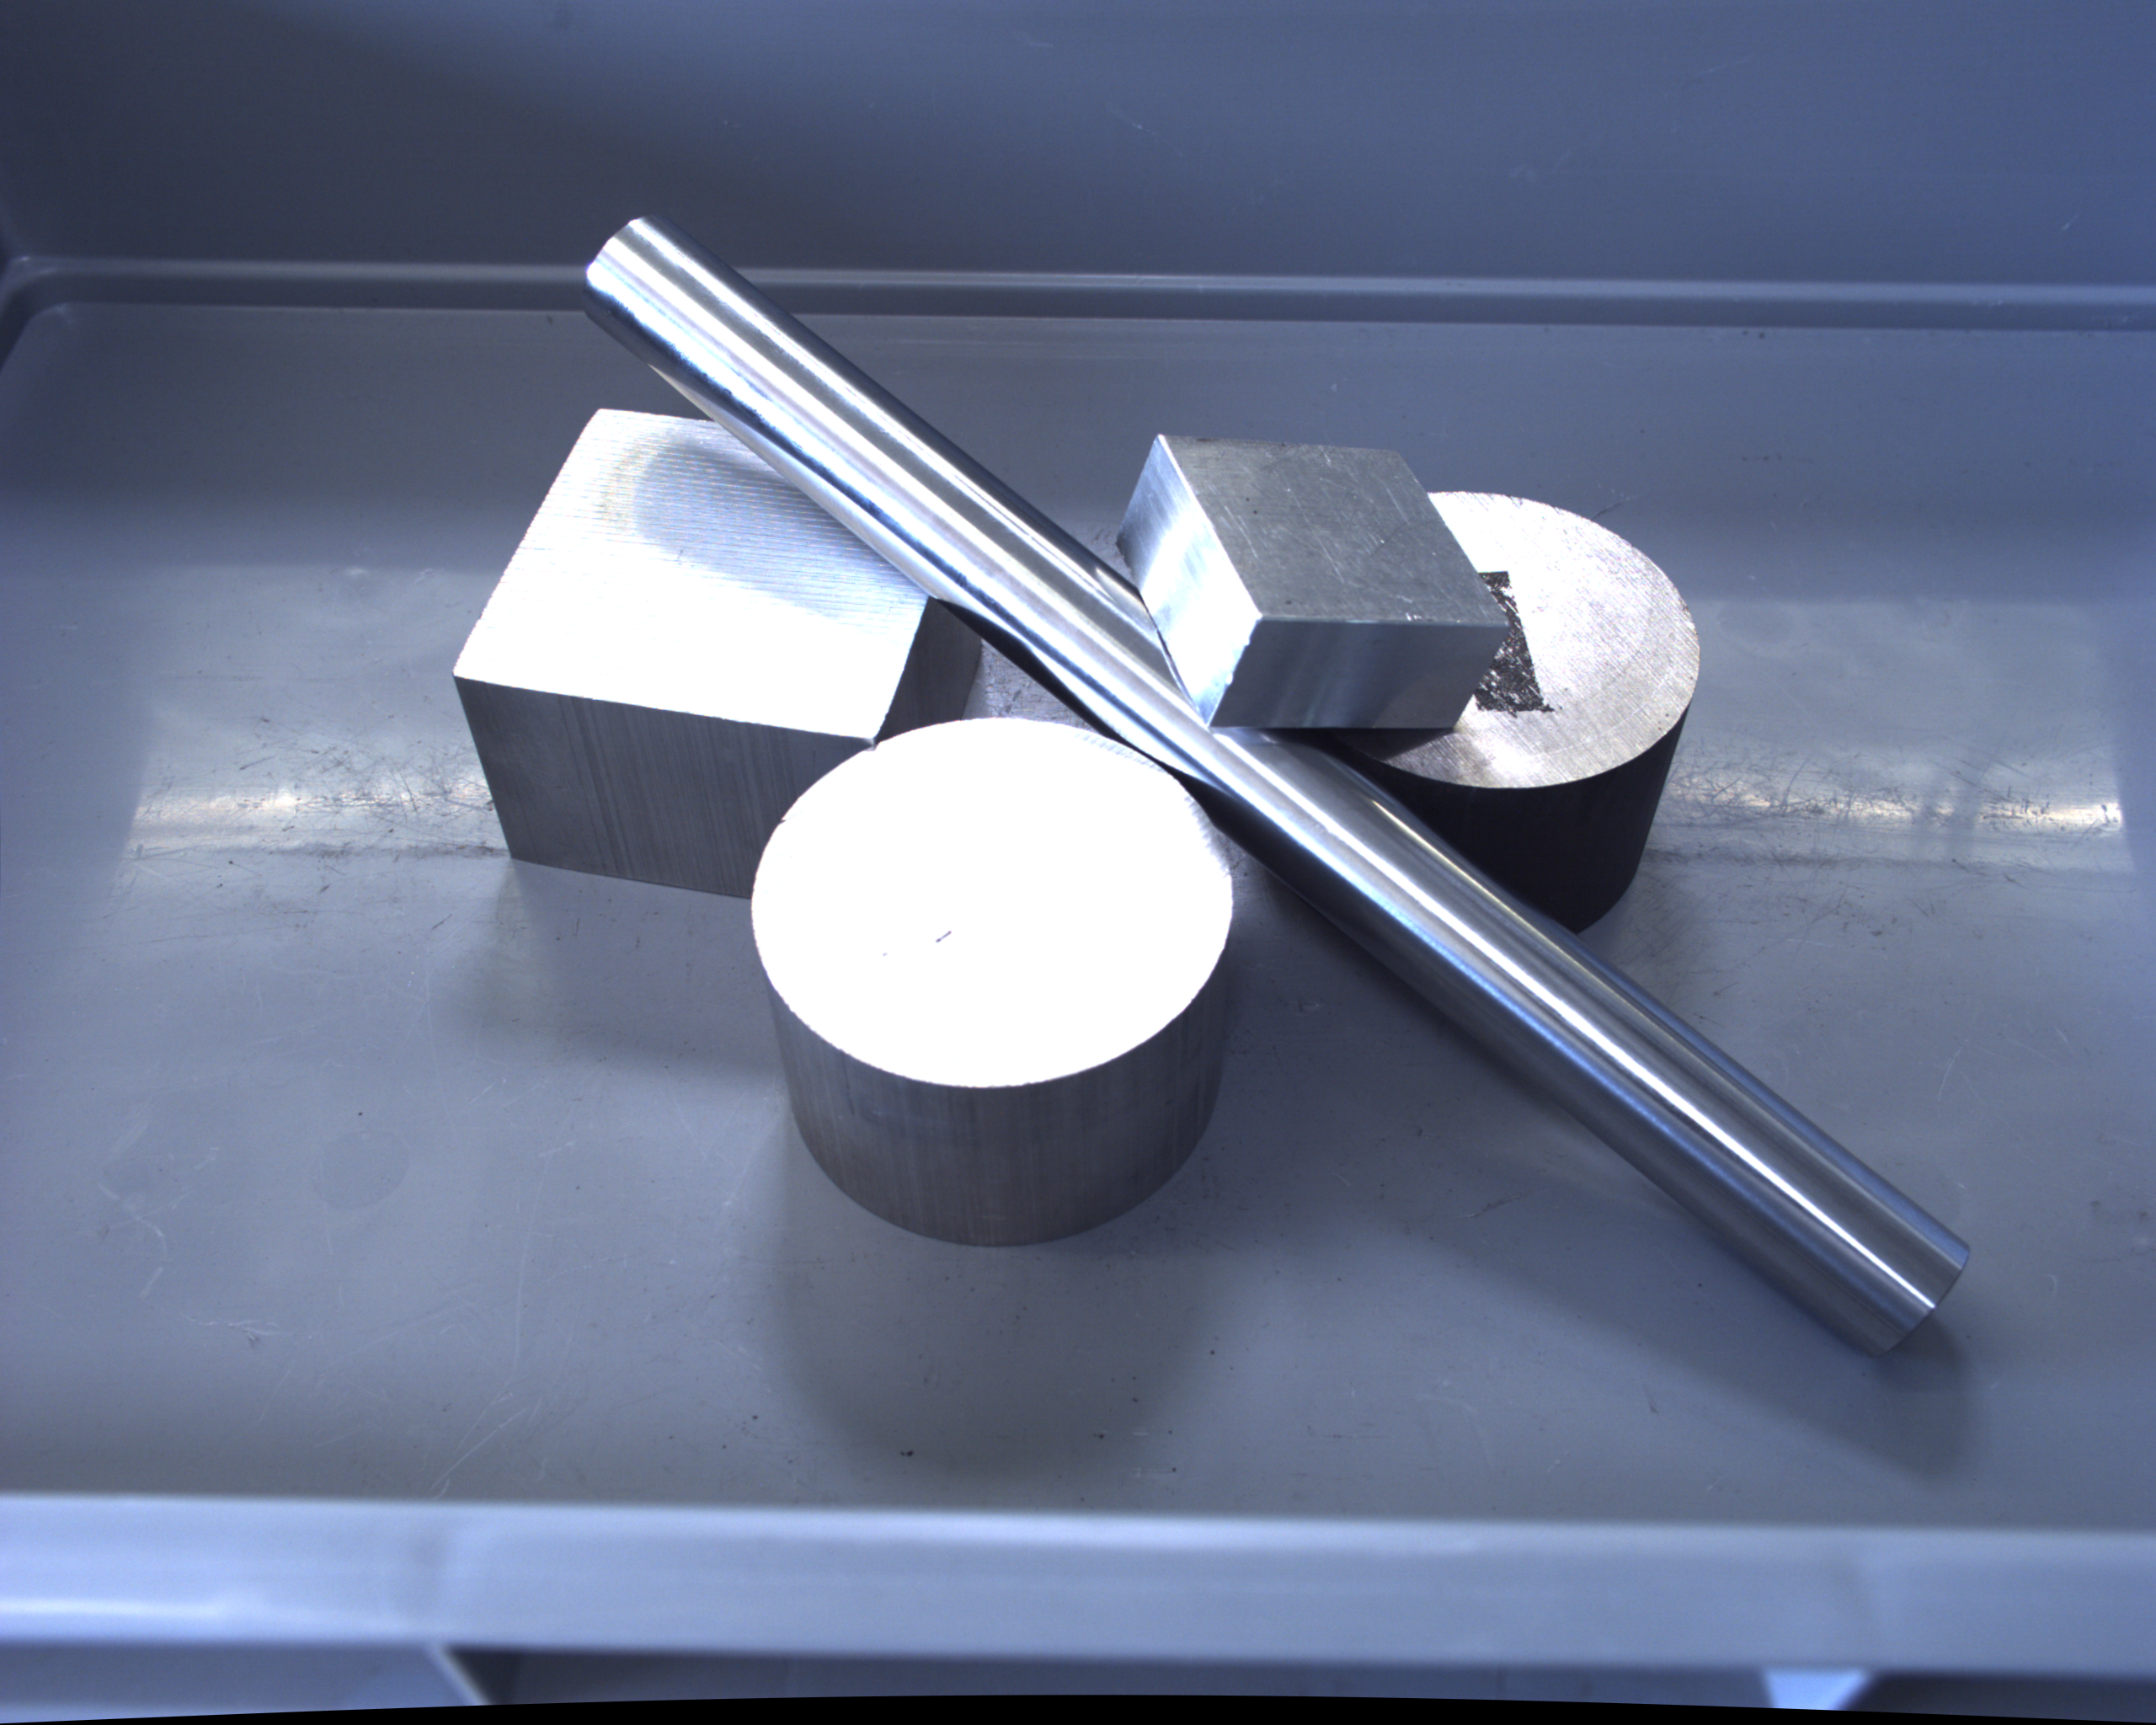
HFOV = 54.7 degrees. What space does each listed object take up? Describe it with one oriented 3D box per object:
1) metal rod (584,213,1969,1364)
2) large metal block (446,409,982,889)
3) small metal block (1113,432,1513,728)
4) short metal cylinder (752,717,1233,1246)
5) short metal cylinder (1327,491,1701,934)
[{"bbox_3d":[0.026,-0.021,0.375,0.300,0.025,0.025,40,60,12],"label":"metal rod"},{"bbox_3d":[-0.068,-0.042,0.419,0.080,0.050,0.080,9,51,7],"label":"large metal block"},{"bbox_3d":[0.041,-0.050,0.371,0.050,0.025,0.050,-2,47,-25],"label":"small metal block"},{"bbox_3d":[-0.014,0.020,0.369,0.081,0.050,0.080,0,50,0],"label":"short metal cylinder"},{"bbox_3d":[0.076,-0.028,0.411,0.081,0.050,0.080,0,50,0],"label":"short metal cylinder"}]
